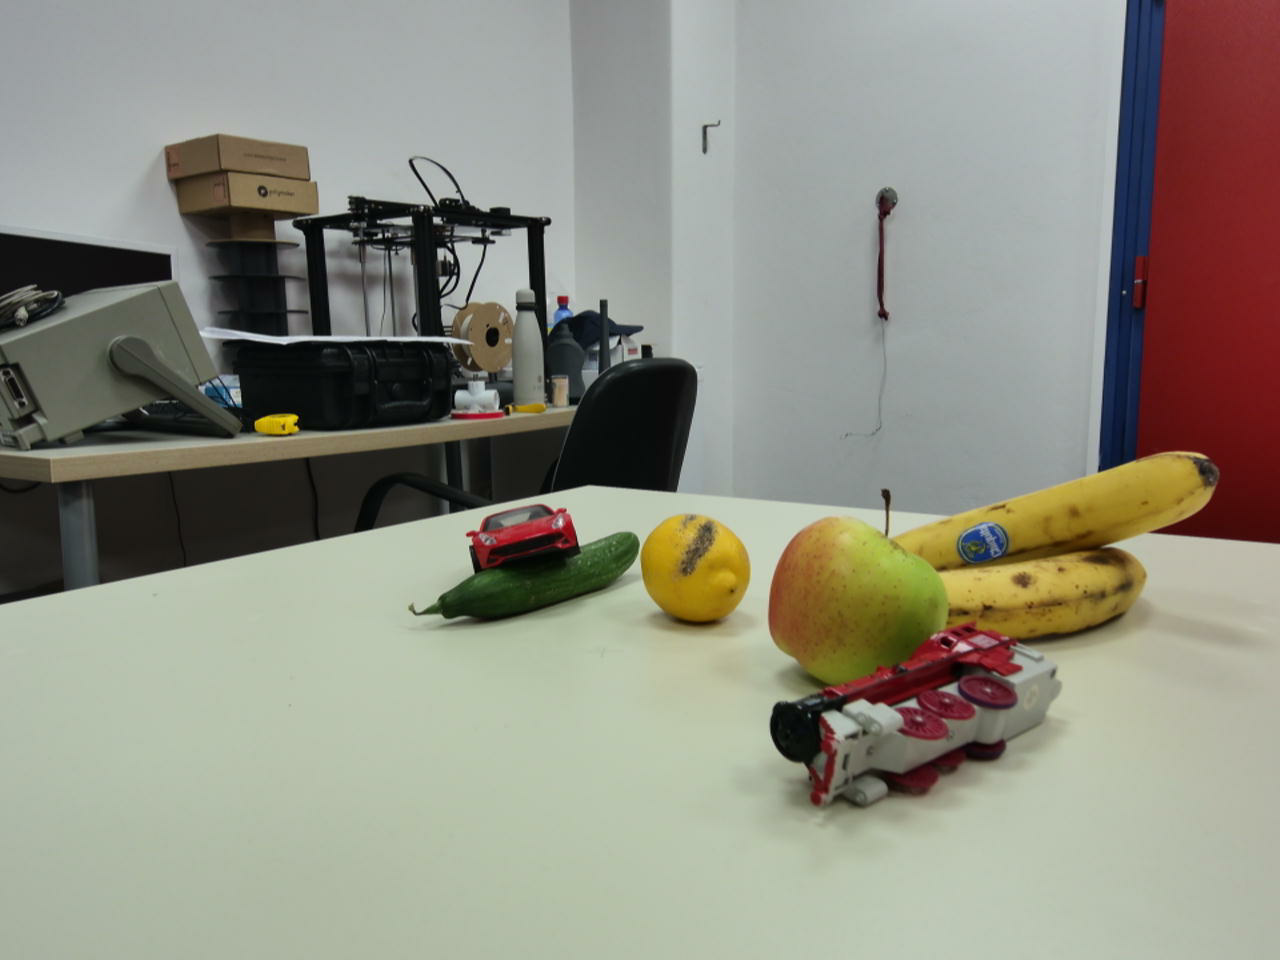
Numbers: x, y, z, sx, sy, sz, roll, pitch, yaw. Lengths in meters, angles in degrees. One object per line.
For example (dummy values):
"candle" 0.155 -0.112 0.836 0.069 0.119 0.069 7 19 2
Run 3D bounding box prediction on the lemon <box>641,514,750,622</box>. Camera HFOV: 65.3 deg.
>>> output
"lemon" 0.030 0.047 0.538 0.061 0.056 0.058 3 6 28
